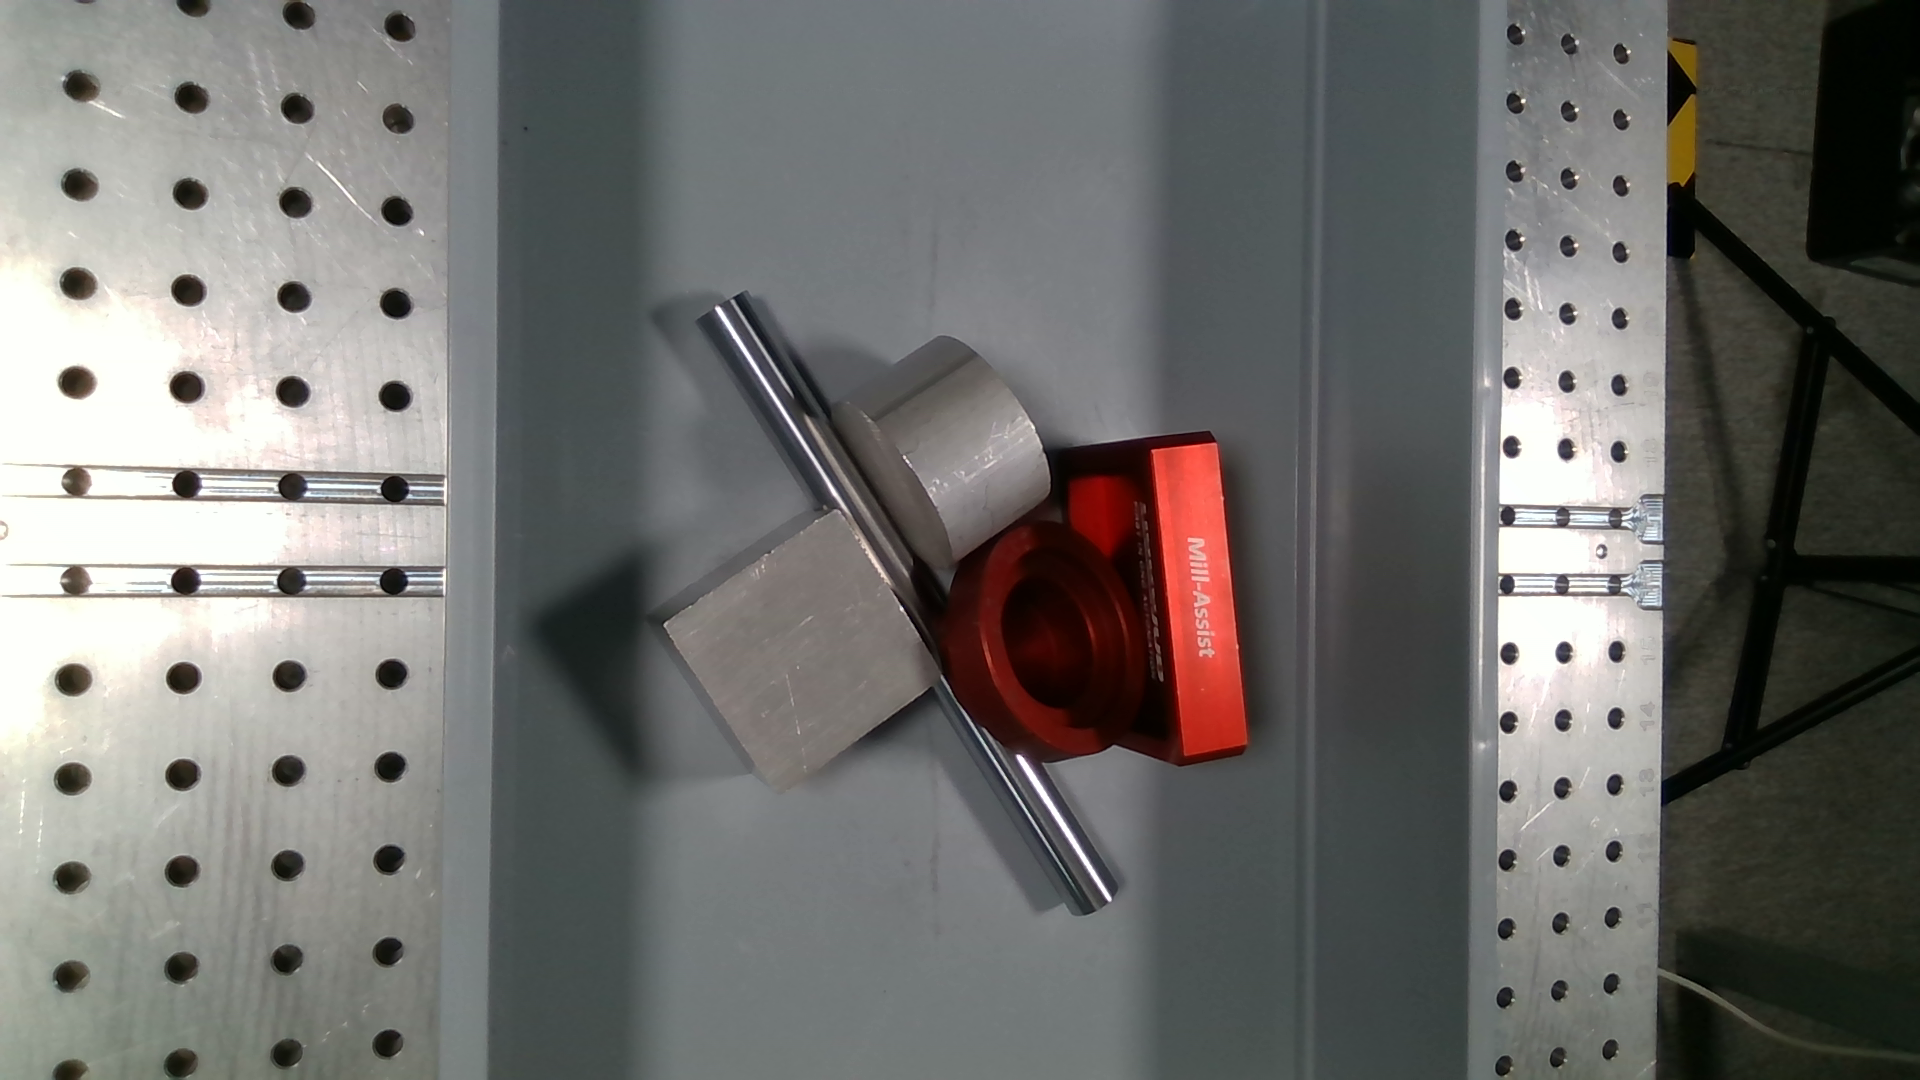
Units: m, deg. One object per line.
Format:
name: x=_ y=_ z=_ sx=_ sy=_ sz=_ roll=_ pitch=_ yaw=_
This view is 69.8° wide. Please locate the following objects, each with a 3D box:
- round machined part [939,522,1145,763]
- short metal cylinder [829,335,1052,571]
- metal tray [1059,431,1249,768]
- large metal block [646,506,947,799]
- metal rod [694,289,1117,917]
round machined part: x=0.030 y=0.045 z=0.572 sx=0.098 sy=0.042 sz=0.098 roll=19 pitch=63 yaw=-40
short metal cylinder: x=-0.008 y=-0.035 z=0.552 sx=0.050 sy=0.080 sz=0.080 roll=-35 pitch=102 yaw=-17
metal tray: x=0.079 y=0.023 z=0.578 sx=0.030 sy=0.090 sz=0.130 roll=-7 pitch=93 yaw=-20
large metal block: x=-0.066 y=0.042 z=0.546 sx=0.080 sy=0.050 sz=0.080 roll=-35 pitch=102 yaw=-17
metal rod: x=-0.018 y=0.032 z=0.578 sx=0.025 sy=0.025 sz=0.300 roll=-35 pitch=102 yaw=-17
